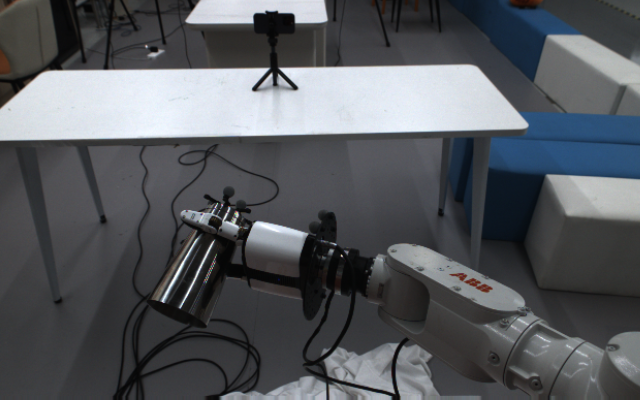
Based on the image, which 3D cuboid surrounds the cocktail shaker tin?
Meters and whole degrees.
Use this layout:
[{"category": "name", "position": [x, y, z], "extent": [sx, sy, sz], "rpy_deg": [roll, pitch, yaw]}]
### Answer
[{"category": "cocktail shaker tin", "position": [-0.174, 0.090, 0.719], "extent": [0.093, 0.093, 0.170], "rpy_deg": [13, 59, 15]}]
